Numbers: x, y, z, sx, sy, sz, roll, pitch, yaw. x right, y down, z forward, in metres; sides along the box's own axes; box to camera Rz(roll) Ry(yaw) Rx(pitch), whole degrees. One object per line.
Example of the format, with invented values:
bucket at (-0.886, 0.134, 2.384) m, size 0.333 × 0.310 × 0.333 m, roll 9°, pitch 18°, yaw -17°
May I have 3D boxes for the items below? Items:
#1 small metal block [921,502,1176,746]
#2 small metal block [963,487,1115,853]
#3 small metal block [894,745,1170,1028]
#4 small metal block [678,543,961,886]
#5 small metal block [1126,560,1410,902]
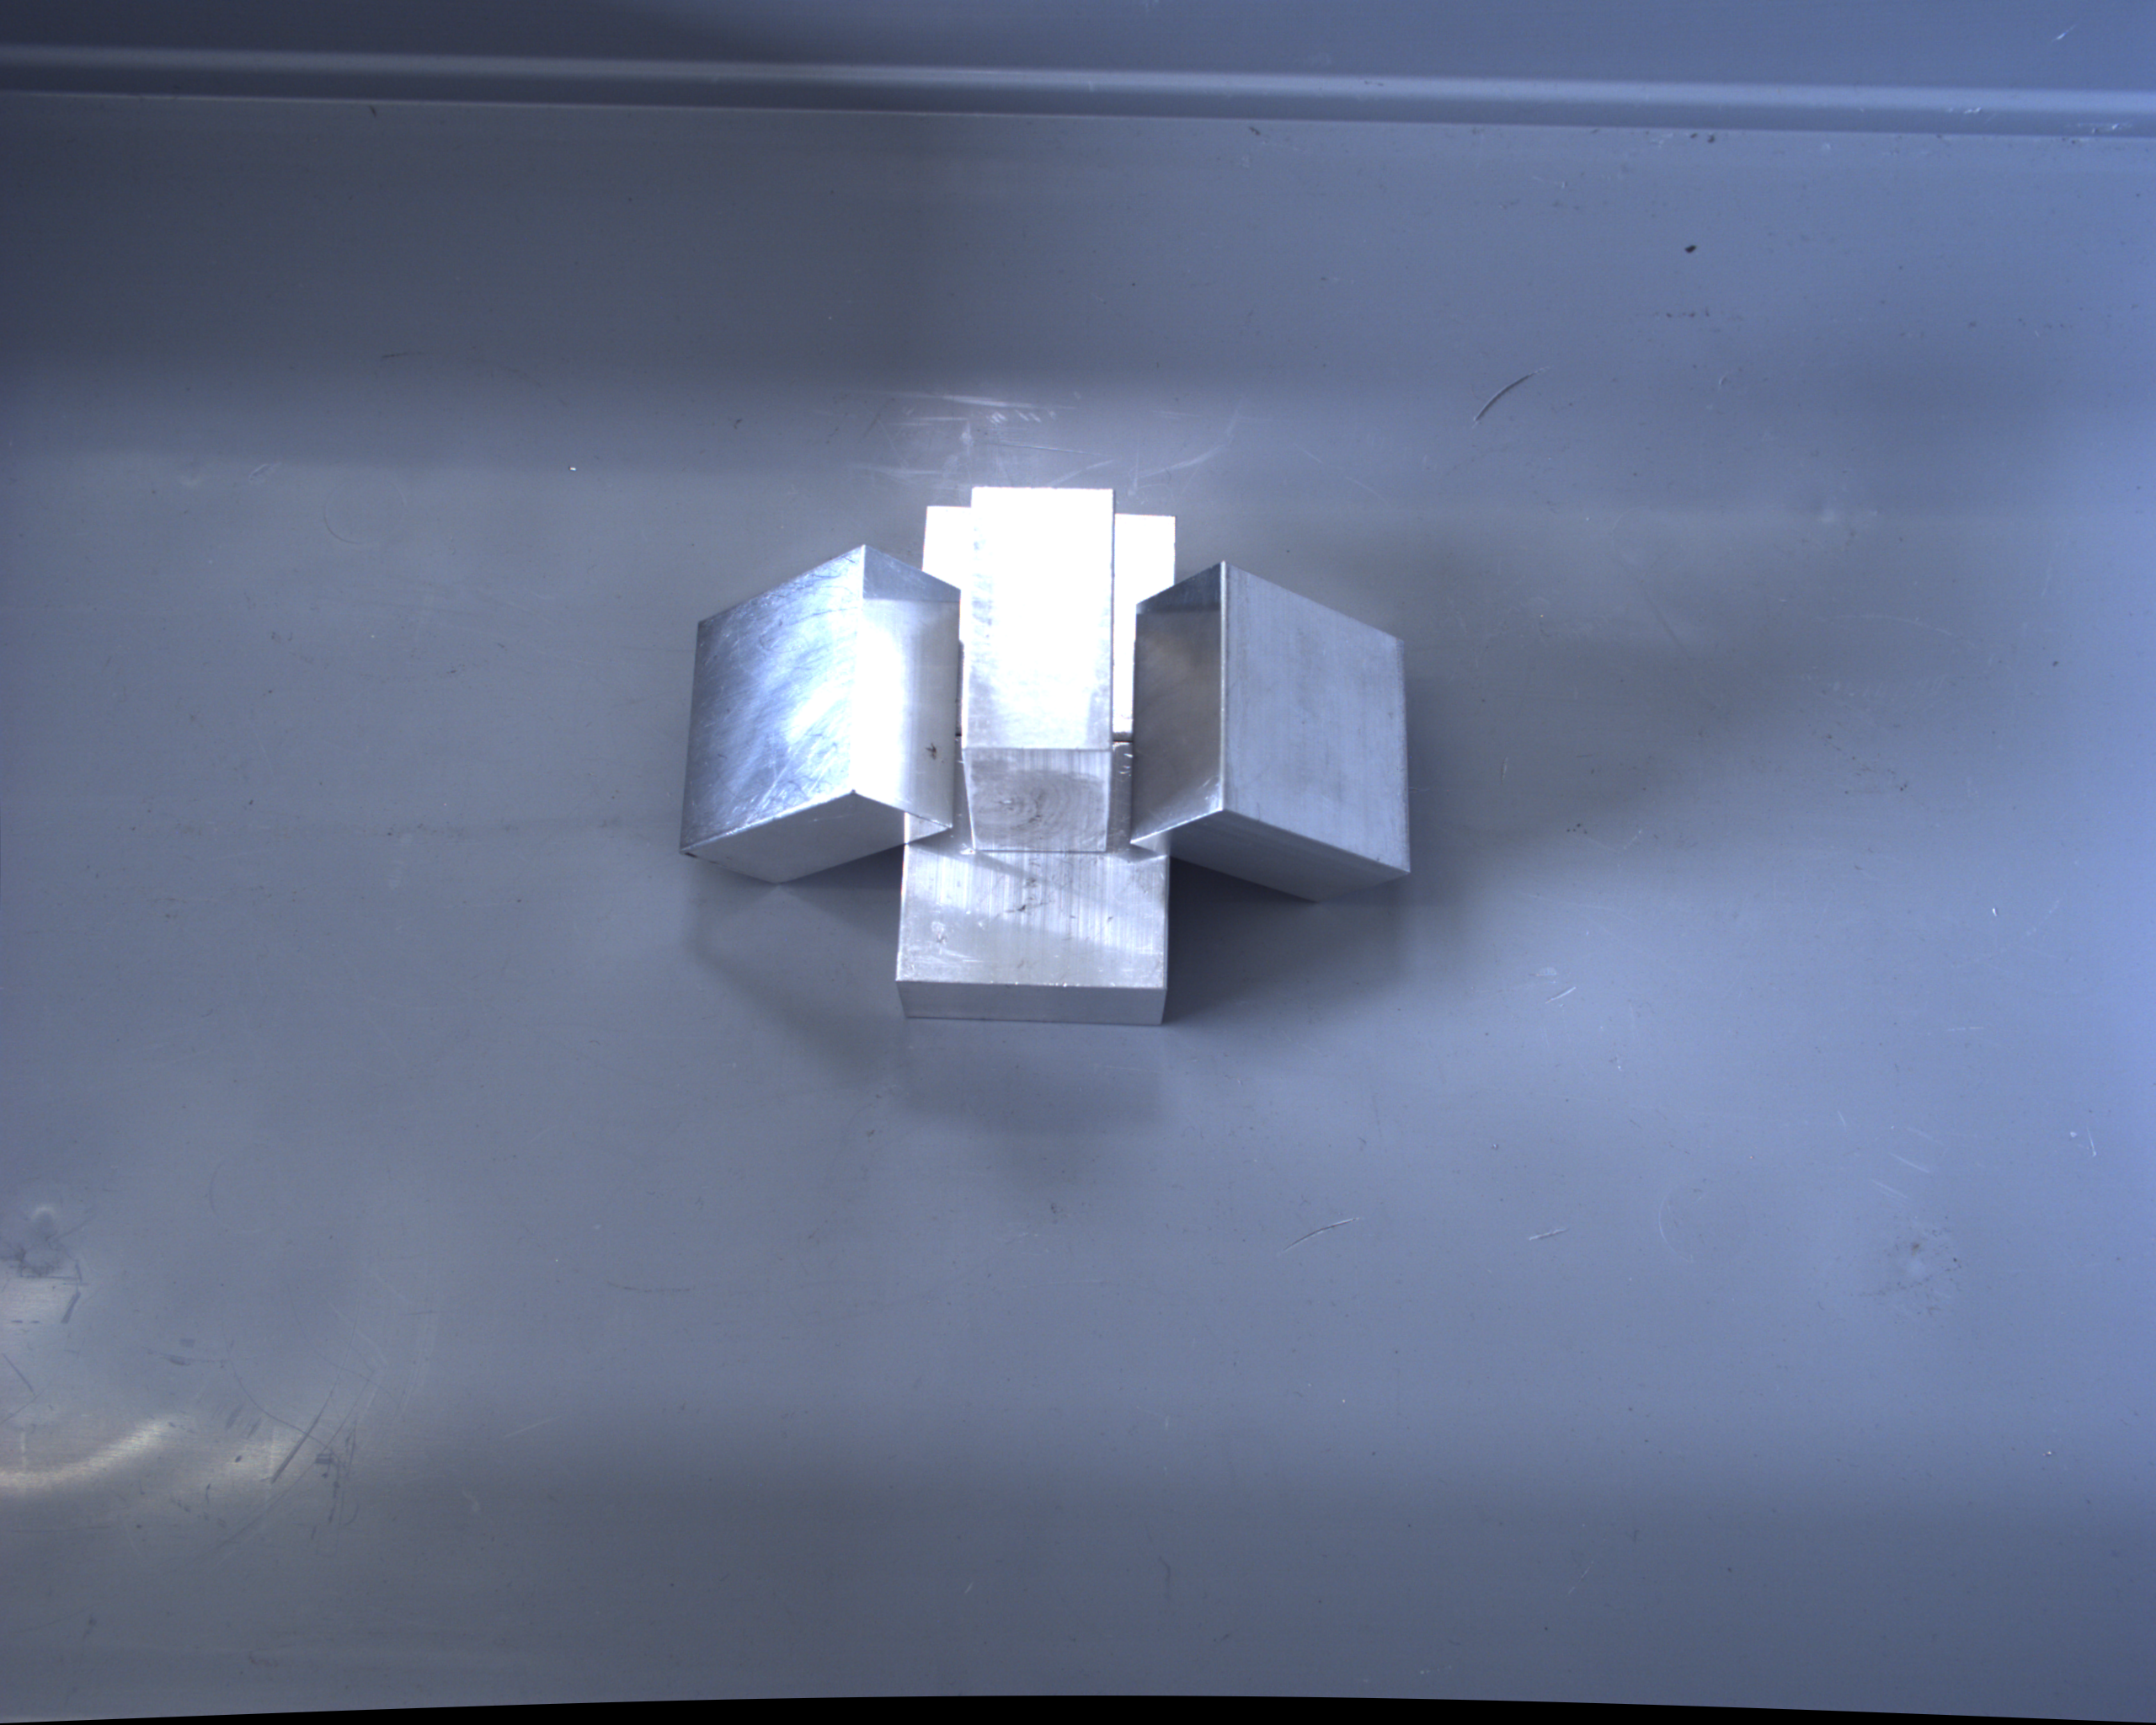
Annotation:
small metal block at (-0.007, -0.044, 0.423) m, size 0.050 × 0.025 × 0.050 m, roll 3°, pitch 70°, yaw 0°
small metal block at (-0.007, -0.034, 0.379) m, size 0.025 × 0.050 × 0.050 m, roll 1°, pitch 70°, yaw 0°
small metal block at (-0.008, 0.004, 0.406) m, size 0.050 × 0.025 × 0.050 m, roll 2°, pitch 70°, yaw 1°
small metal block at (-0.050, -0.027, 0.403) m, size 0.050 × 0.025 × 0.050 m, roll -17°, pitch 64°, yaw 40°
small metal block at (0.037, -0.024, 0.404) m, size 0.050 × 0.025 × 0.050 m, roll 17°, pitch 66°, yaw -36°
